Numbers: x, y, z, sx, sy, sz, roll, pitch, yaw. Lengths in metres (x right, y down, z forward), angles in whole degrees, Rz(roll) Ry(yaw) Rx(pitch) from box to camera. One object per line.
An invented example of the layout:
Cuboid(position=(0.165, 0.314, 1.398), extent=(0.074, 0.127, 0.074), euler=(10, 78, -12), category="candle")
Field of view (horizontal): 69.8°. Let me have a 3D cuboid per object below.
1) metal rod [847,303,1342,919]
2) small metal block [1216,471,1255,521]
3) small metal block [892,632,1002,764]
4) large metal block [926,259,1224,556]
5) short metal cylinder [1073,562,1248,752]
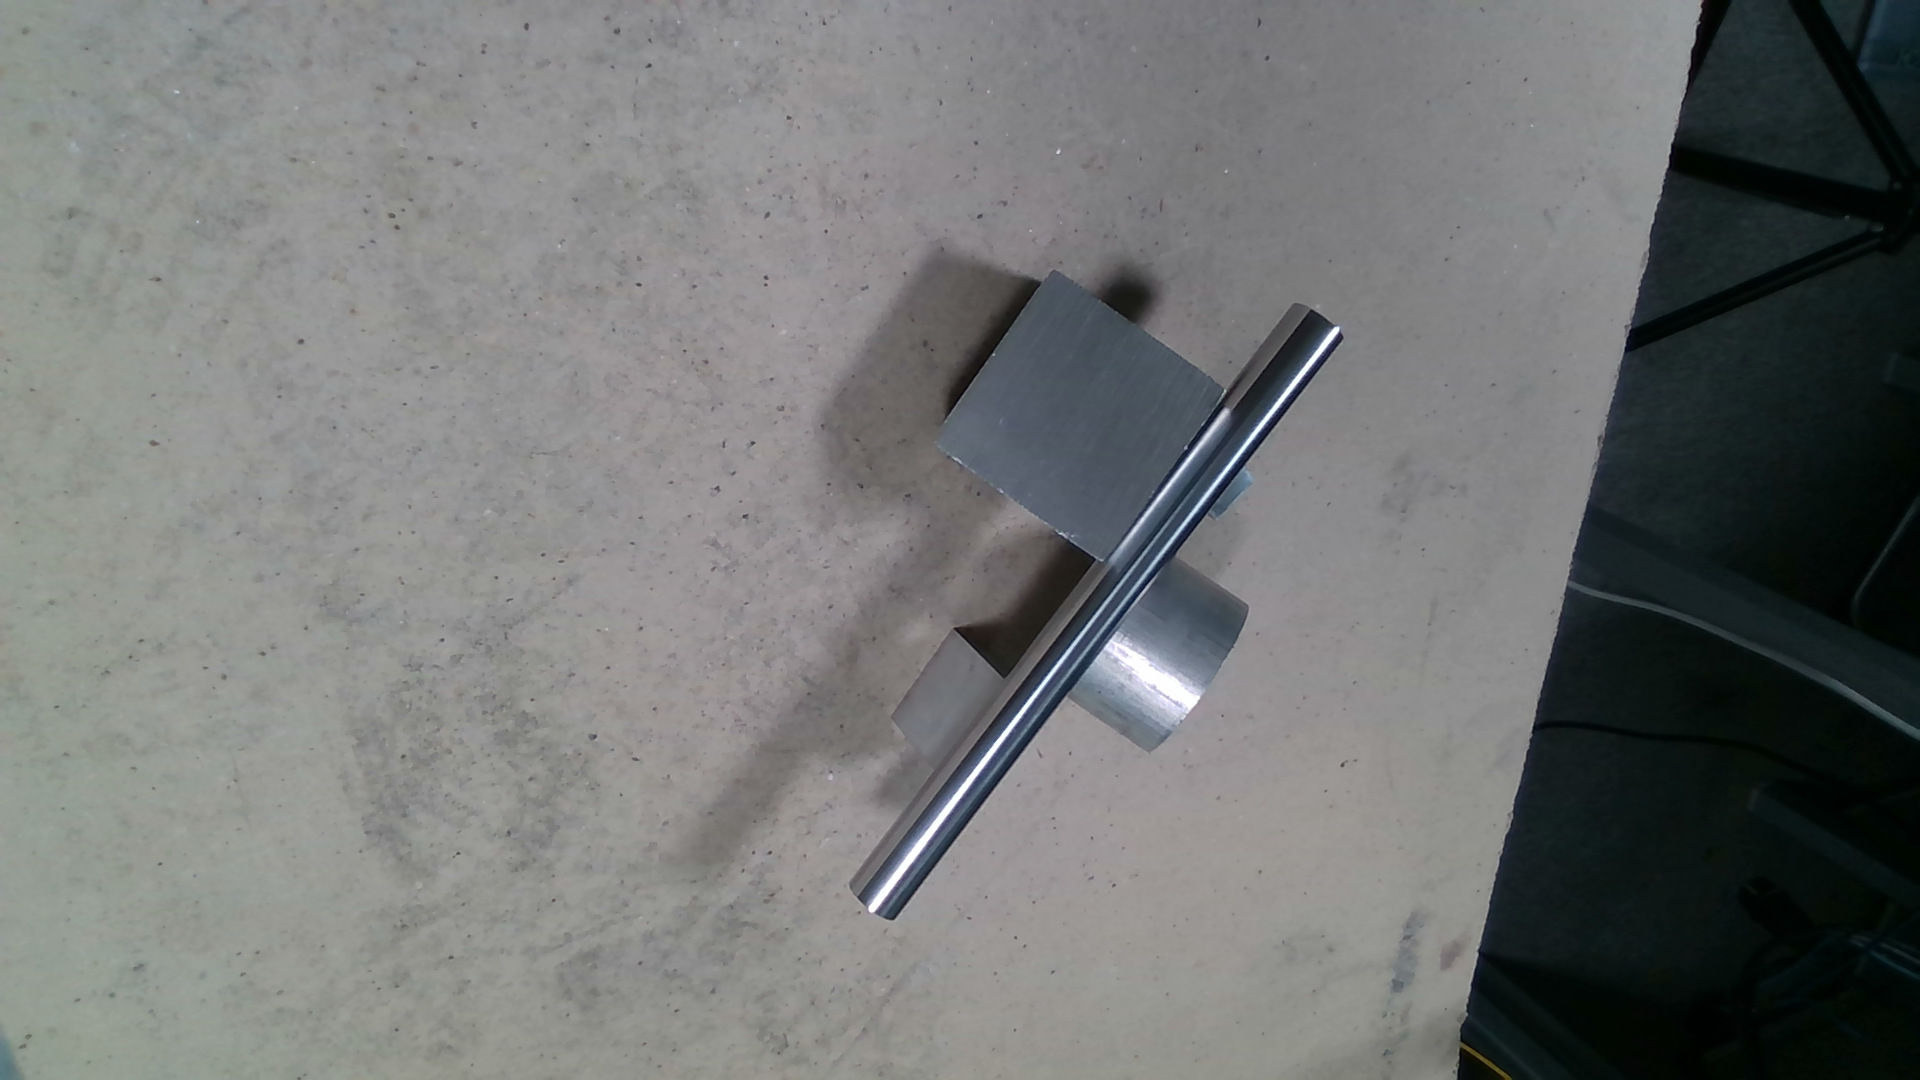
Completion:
Cuboid(position=(0.054, 0.031, 0.566), extent=(0.025, 0.025, 0.300), euler=(34, 94, -39), category="metal rod")
Cuboid(position=(0.094, -0.042, 0.600), extent=(0.025, 0.050, 0.050), euler=(-47, 129, -2), category="small metal block")
Cuboid(position=(0.004, 0.077, 0.605), extent=(0.025, 0.050, 0.050), euler=(31, 96, -39), category="small metal block")
Cuboid(position=(0.045, -0.051, 0.542), extent=(0.080, 0.050, 0.080), euler=(35, 95, 1), category="large metal block")
Cuboid(position=(0.084, 0.047, 0.615), extent=(0.050, 0.080, 0.080), euler=(34, 96, 3), category="short metal cylinder")
